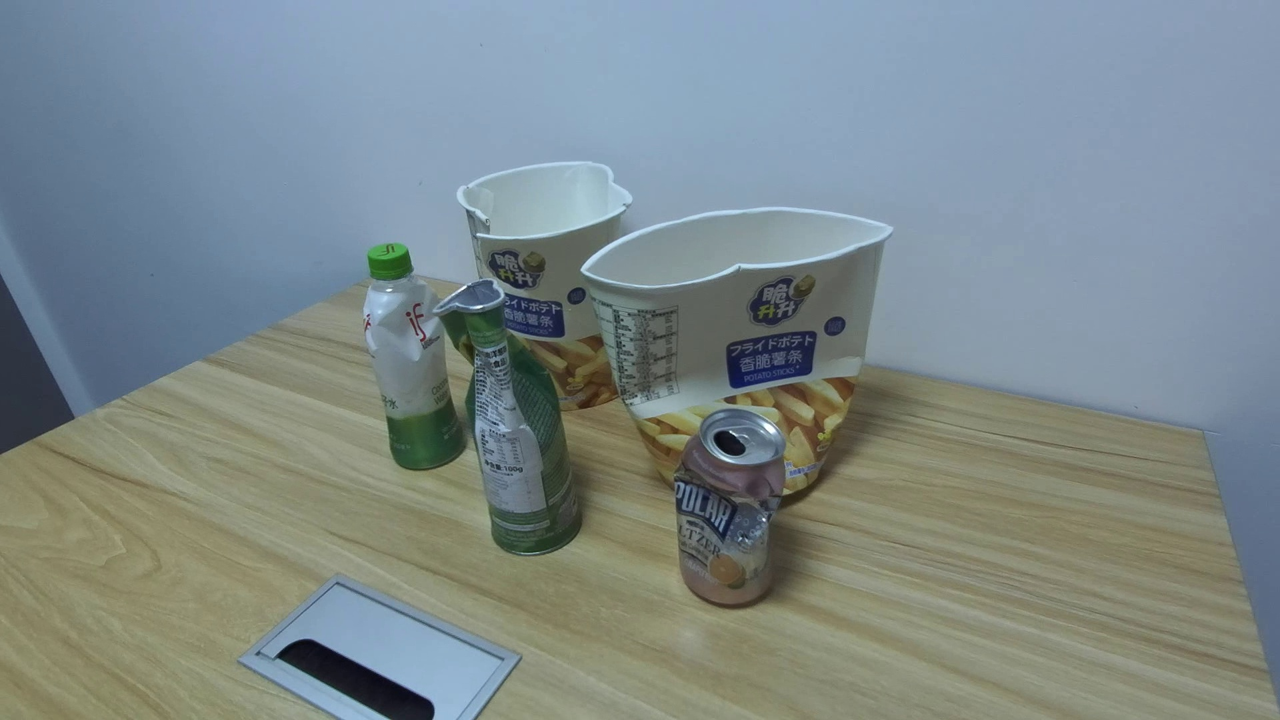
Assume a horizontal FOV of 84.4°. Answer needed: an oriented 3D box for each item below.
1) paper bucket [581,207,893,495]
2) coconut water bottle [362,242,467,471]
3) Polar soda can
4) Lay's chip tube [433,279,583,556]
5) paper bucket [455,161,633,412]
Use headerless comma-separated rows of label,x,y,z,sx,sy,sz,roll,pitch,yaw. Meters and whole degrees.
paper bucket,0.081,-0.005,0.553,0.147,0.199,0.218,22,39,35
coconut water bottle,-0.191,-0.002,0.586,0.067,0.187,0.067,-1,29,1
Polar soda can,0.064,0.098,0.462,0.067,0.122,0.070,-20,36,-35
Lay's chip tube,-0.093,0.040,0.498,0.071,0.199,0.079,-1,27,20
paper bucket,-0.077,-0.071,0.684,0.146,0.197,0.202,-13,31,-14
